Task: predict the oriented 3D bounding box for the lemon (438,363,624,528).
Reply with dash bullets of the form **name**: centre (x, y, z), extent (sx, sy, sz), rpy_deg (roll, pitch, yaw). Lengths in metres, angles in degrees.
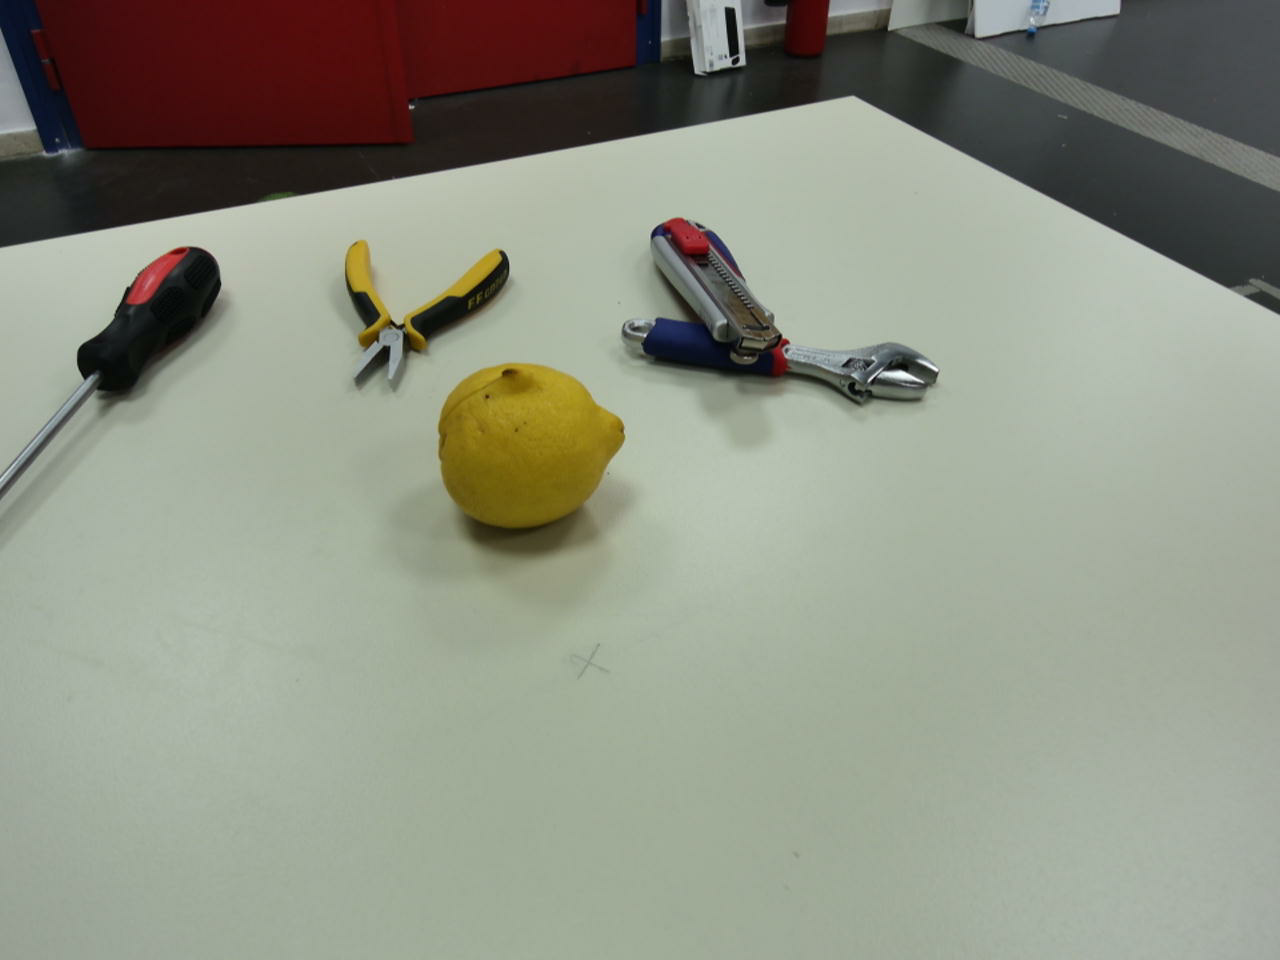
- **lemon**: centre (-0.049, -0.017, 0.412), extent (0.071, 0.071, 0.070), rpy_deg (20, 41, 22)
